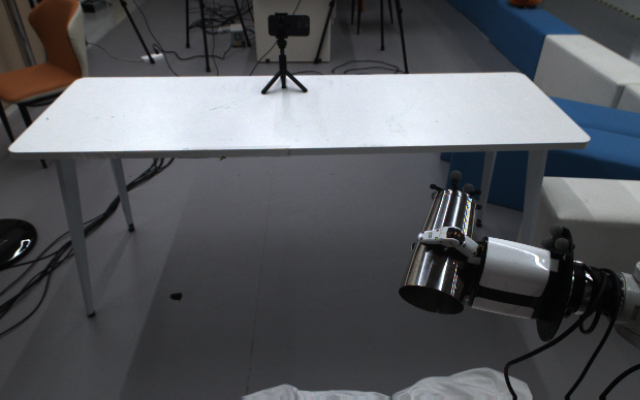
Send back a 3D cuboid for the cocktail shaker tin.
[{"bbox_3d":[0.181,0.069,0.713,0.093,0.093,0.170,14,60,17],"label":"cocktail shaker tin"}]
